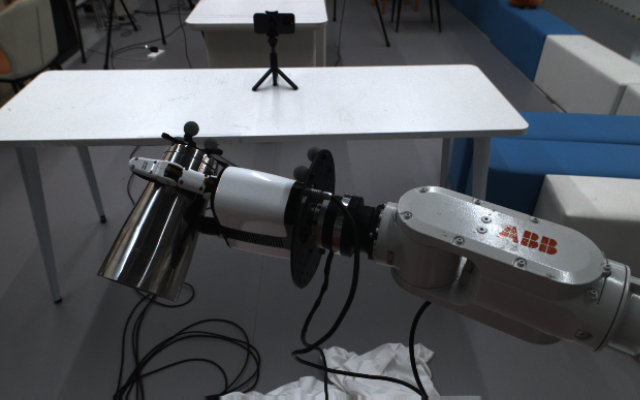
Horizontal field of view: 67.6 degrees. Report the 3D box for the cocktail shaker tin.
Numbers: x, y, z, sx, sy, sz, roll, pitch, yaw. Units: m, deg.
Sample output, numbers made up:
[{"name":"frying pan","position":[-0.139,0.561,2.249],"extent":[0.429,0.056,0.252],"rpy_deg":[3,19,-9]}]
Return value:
[{"name":"cocktail shaker tin","position":[-0.180,0.022,0.572],"extent":[0.093,0.093,0.170],"rpy_deg":[13,71,16]}]
